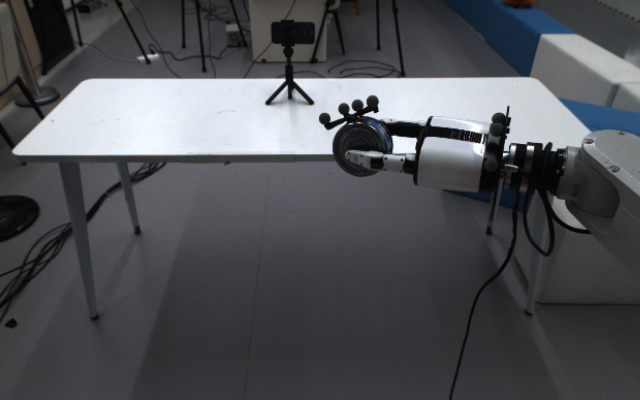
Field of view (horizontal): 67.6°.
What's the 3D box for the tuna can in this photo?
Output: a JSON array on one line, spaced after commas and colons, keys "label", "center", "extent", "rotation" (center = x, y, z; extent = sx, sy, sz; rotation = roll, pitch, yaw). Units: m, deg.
[{"label": "tuna can", "center": [0.066, -0.073, 0.714], "extent": [0.085, 0.085, 0.034], "rotation": [15, 29, 17]}]
